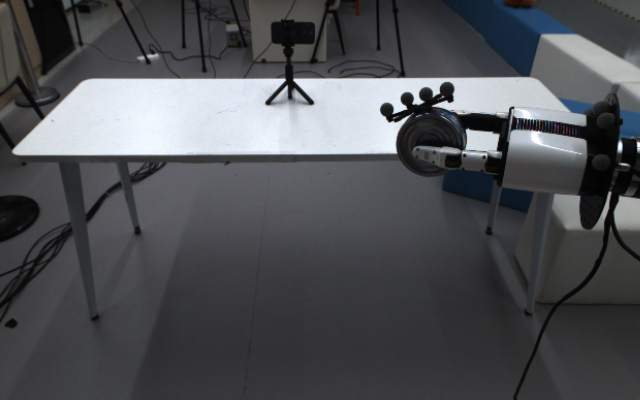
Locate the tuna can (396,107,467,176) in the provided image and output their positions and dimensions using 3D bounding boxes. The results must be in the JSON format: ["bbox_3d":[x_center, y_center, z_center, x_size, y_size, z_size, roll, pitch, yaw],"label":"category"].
[{"bbox_3d":[0.144,-0.076,0.622,0.085,0.085,0.034,14,30,17],"label":"tuna can"}]
